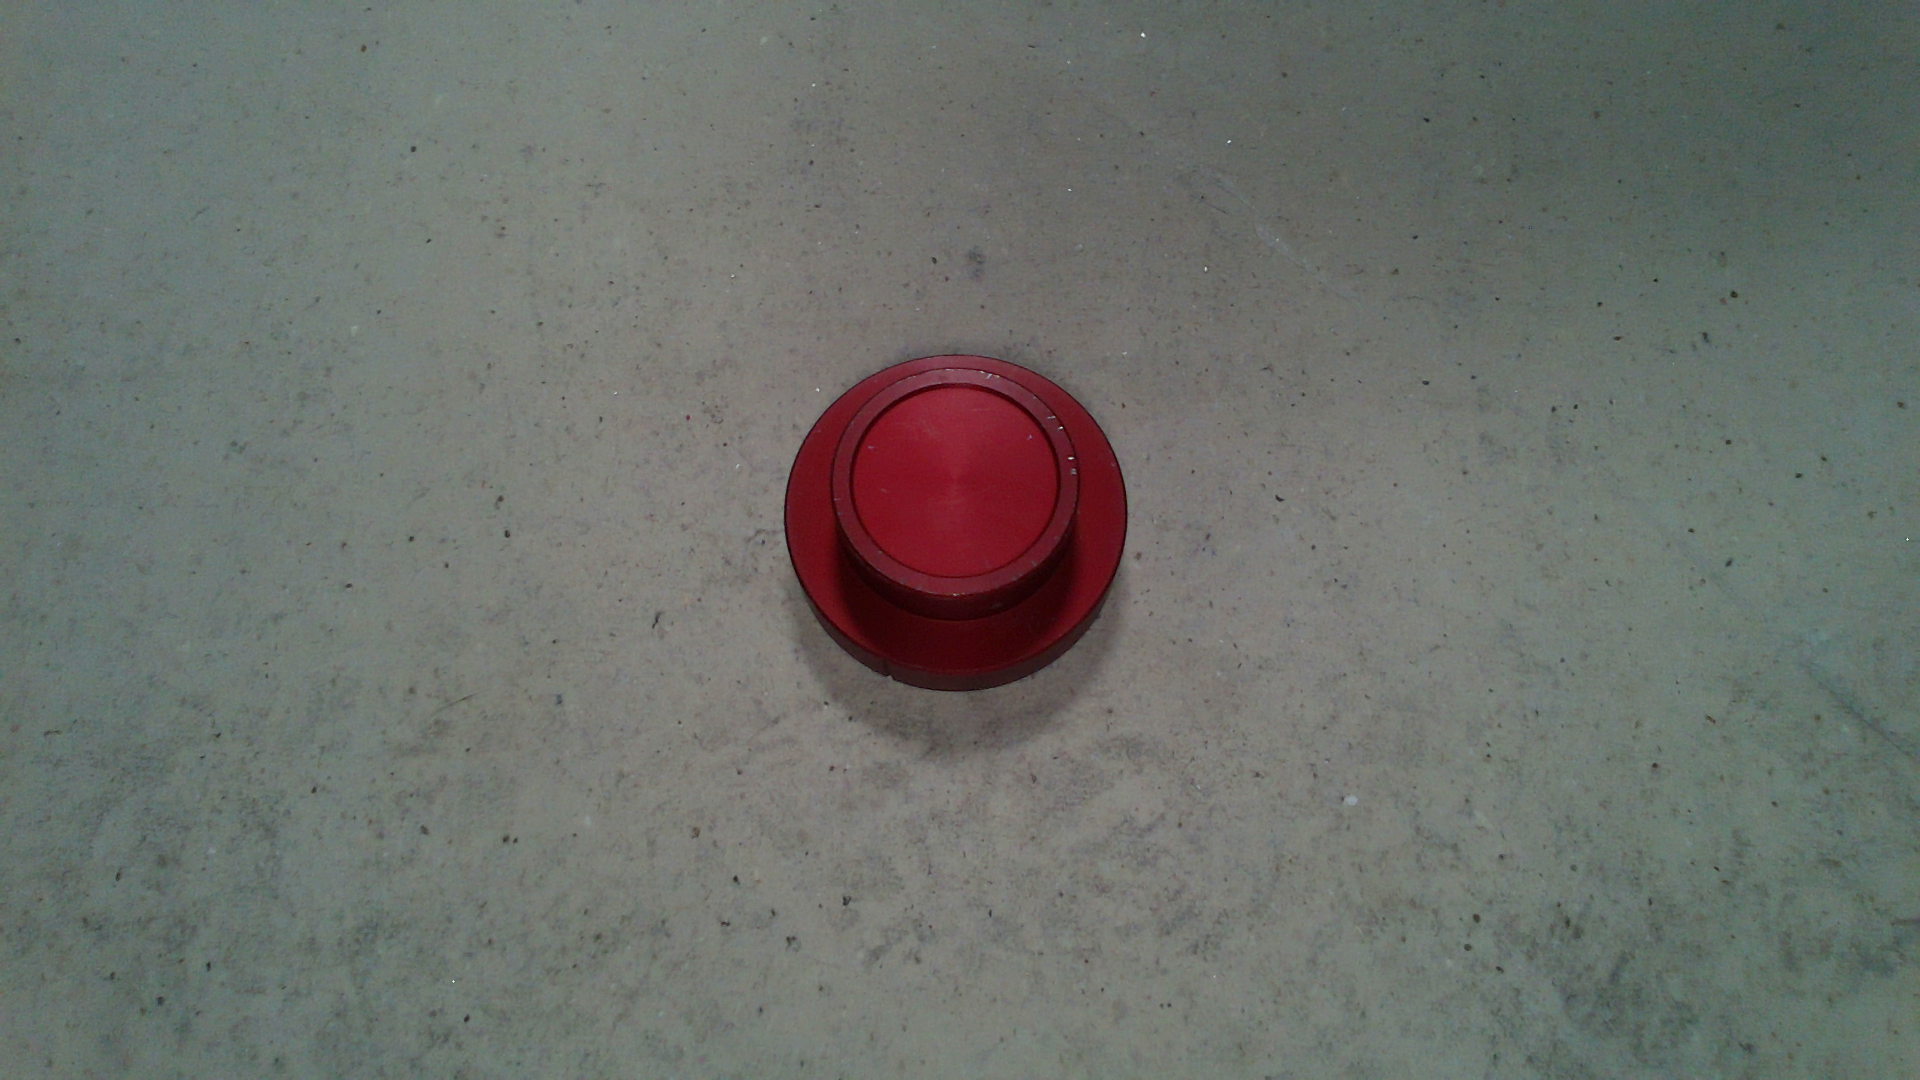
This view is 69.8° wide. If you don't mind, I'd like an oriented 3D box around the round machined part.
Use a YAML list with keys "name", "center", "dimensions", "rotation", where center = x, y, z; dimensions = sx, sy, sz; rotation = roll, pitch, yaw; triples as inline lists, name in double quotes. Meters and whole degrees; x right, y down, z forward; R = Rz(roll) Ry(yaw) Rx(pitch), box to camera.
- name: "round machined part"
  center: [-0.001, -0.010, 0.389]
  dimensions: [0.098, 0.042, 0.098]
  rotation: [0, 70, 0]
